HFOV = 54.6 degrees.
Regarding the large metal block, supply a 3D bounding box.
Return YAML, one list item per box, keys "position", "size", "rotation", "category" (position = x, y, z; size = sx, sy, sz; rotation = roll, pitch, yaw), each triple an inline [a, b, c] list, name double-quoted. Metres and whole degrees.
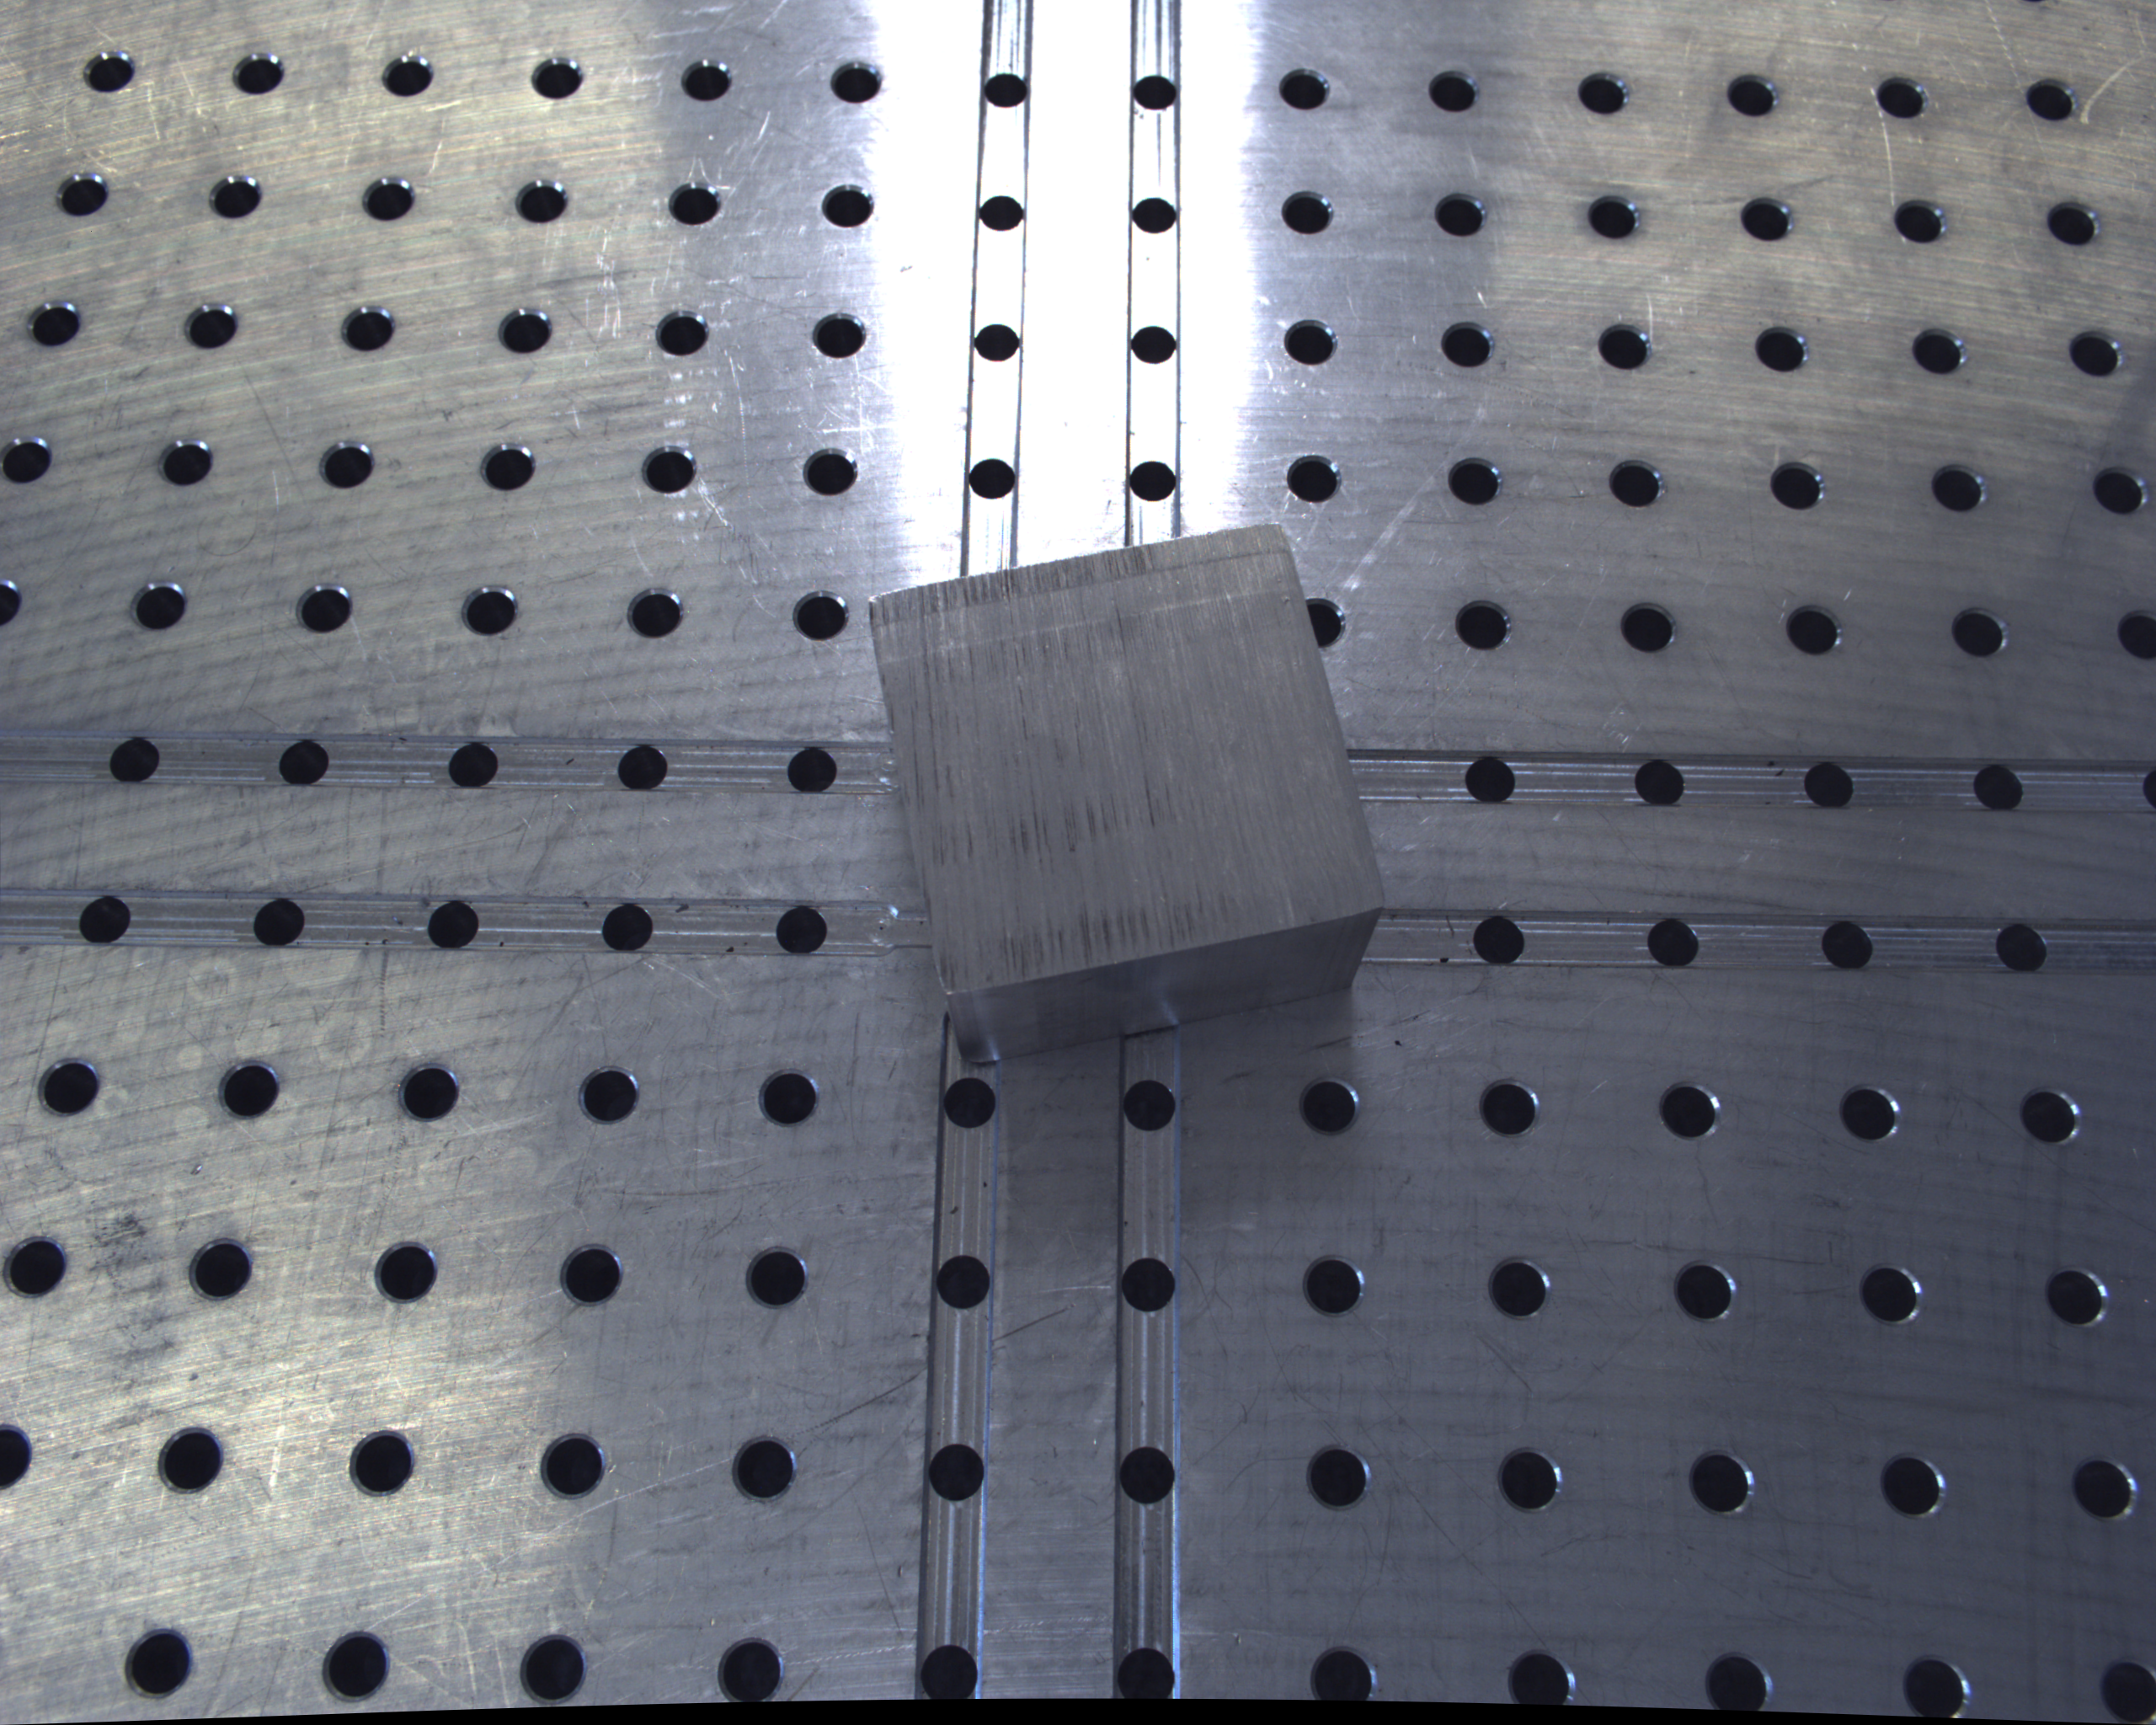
- position: [0.007, -0.013, 0.402]
  size: [0.080, 0.050, 0.080]
  rotation: [-11, 71, -4]
  category: "large metal block"
